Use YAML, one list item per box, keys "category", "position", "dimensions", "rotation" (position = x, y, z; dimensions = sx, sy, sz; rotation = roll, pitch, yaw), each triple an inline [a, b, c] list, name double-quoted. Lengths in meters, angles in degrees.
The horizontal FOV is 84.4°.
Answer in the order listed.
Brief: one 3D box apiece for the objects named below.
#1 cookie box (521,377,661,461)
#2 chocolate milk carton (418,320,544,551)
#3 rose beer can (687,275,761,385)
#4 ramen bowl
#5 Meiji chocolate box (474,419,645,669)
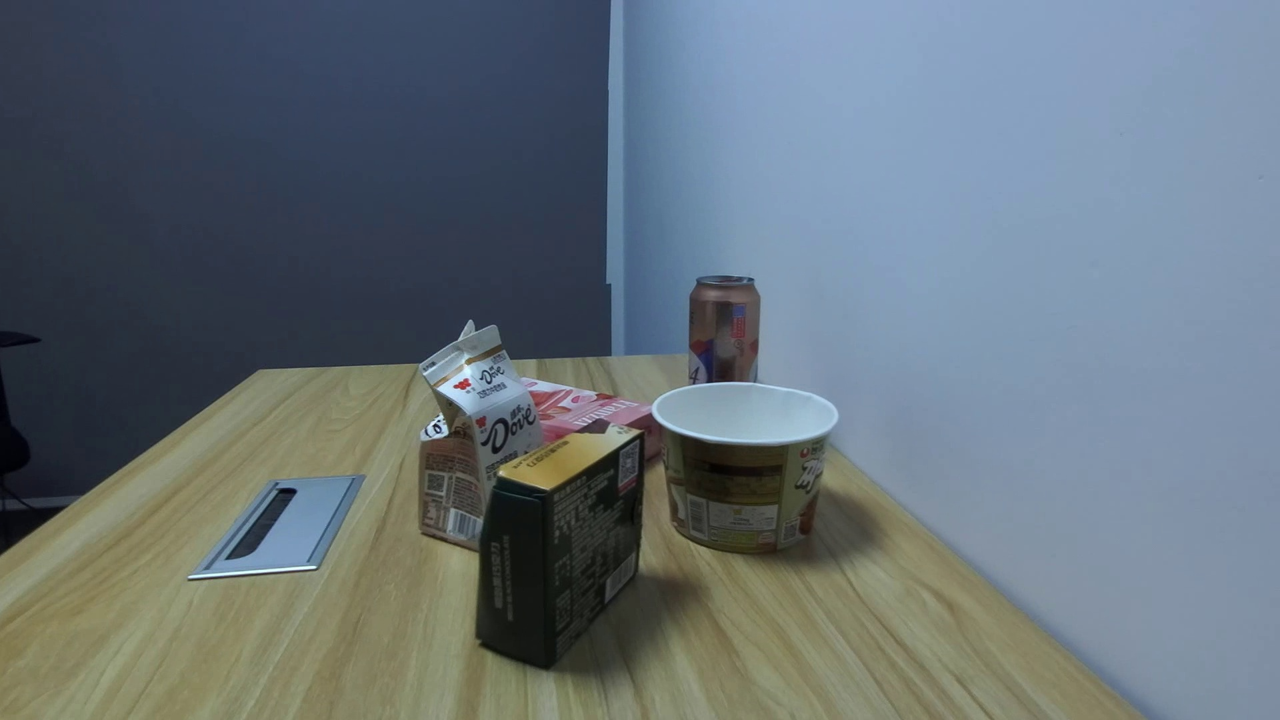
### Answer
- category: "cookie box"
  position: [-0.082, 0.064, 0.693]
  dimensions: [0.186, 0.049, 0.105]
  rotation: [10, 18, 34]
- category: "chocolate milk carton"
  position: [-0.122, 0.052, 0.530]
  dimensions: [0.073, 0.155, 0.076]
  rotation: [6, 18, 27]
- category: "rose beer can"
  position: [0.080, 0.006, 0.675]
  dimensions: [0.068, 0.169, 0.068]
  rotation: [0, 15, 0]
- category: "ramen bowl"
  position: [0.079, 0.080, 0.541]
  dimensions: [0.140, 0.095, 0.140]
  rotation: [-1, 15, 1]
- category: "Meiji chocolate box"
  position: [-0.043, 0.104, 0.422]
  dimensions: [0.051, 0.117, 0.117]
  rotation: [15, 20, 24]
